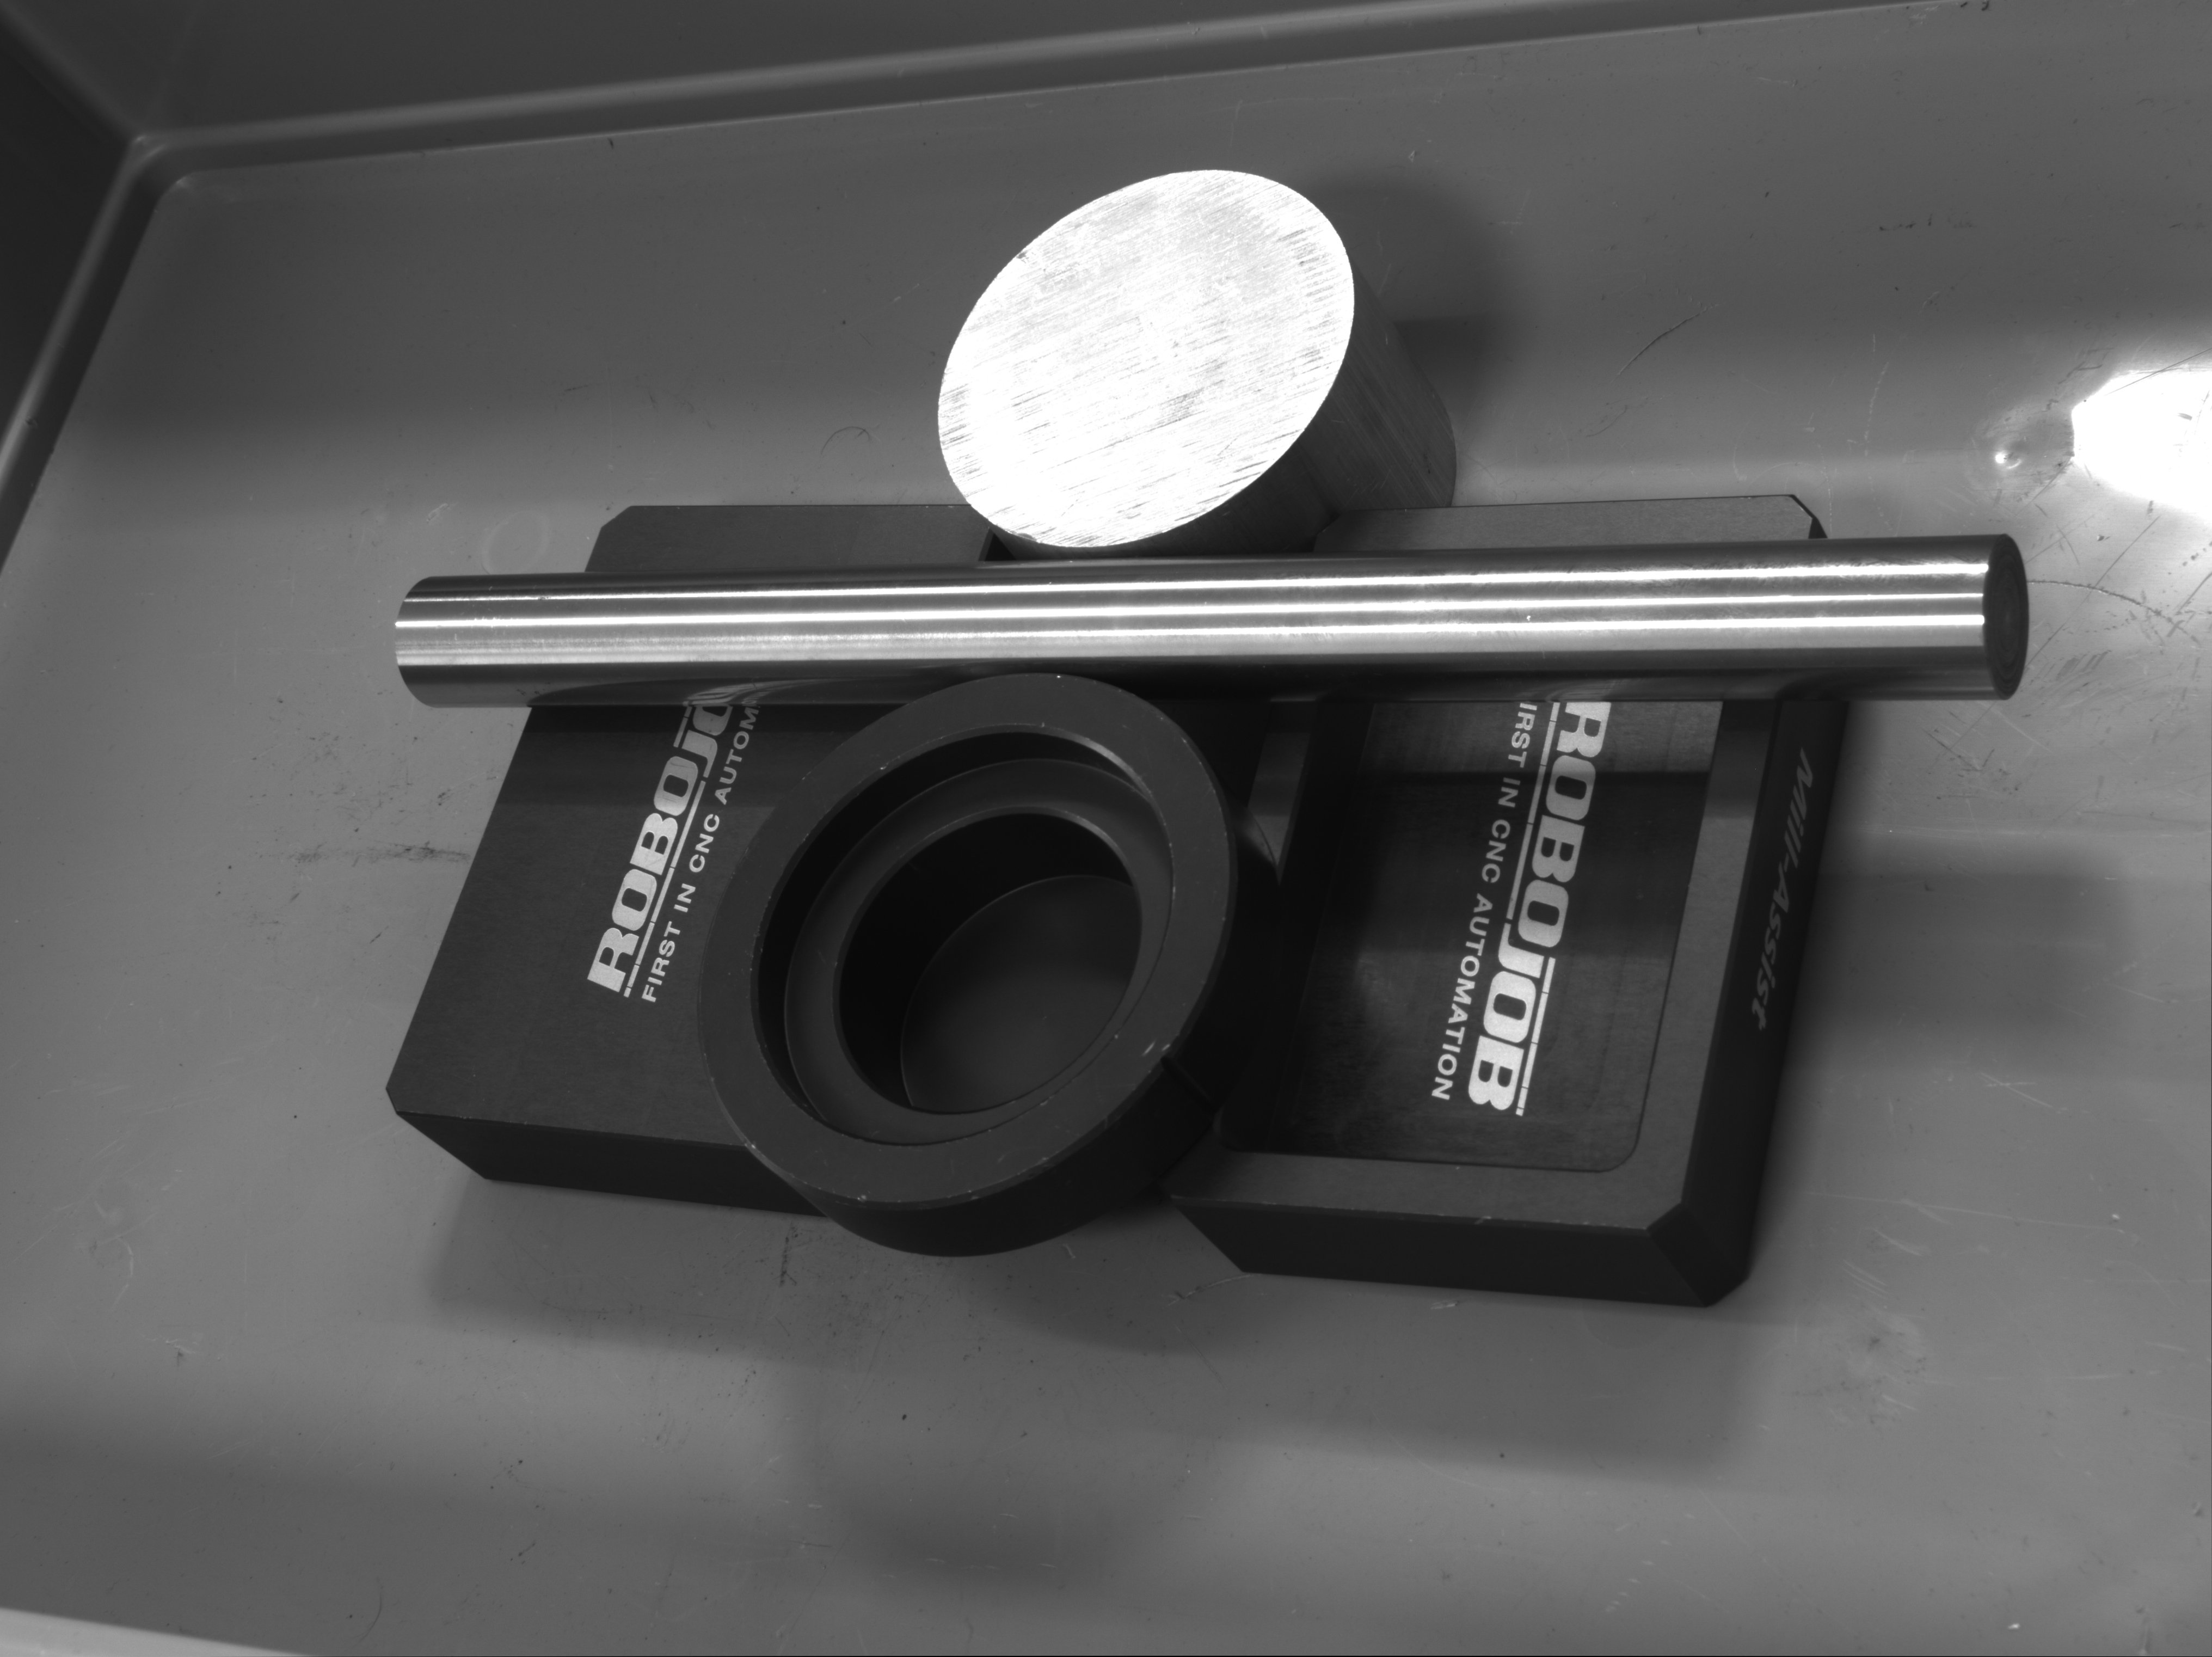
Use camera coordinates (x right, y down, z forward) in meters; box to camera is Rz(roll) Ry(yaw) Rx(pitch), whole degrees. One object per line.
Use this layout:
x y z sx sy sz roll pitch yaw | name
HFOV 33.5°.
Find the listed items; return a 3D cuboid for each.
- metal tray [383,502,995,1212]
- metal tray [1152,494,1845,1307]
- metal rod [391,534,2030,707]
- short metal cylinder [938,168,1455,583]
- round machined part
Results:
-0.070 0.002 0.676 0.090 0.030 0.130 3 63 30 | metal tray
0.067 0.009 0.598 0.090 0.030 0.130 1 62 29 | metal tray
0.004 -0.034 0.623 0.299 0.025 0.025 1 62 29 | metal rod
0.017 -0.072 0.662 0.080 0.050 0.080 -14 56 21 | short metal cylinder
-0.015 0.026 0.613 0.098 0.042 0.098 -14 56 21 | round machined part
